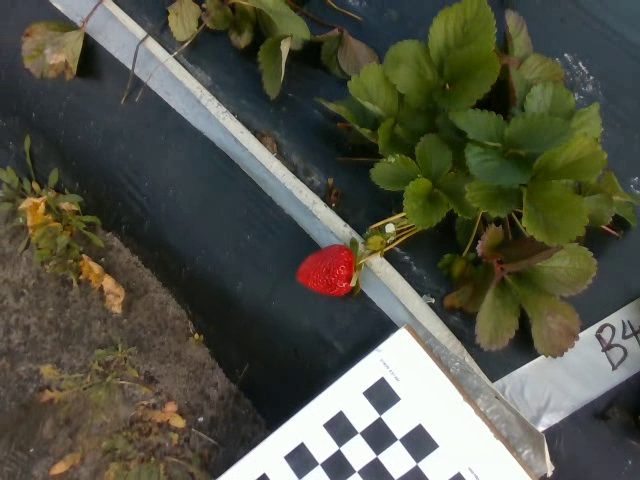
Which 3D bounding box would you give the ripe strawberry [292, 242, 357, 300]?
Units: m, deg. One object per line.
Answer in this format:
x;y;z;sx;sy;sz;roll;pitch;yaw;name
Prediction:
0.004;0.025;0.445;0.052;0.048;0.030;-3;1;-8;ripe strawberry
